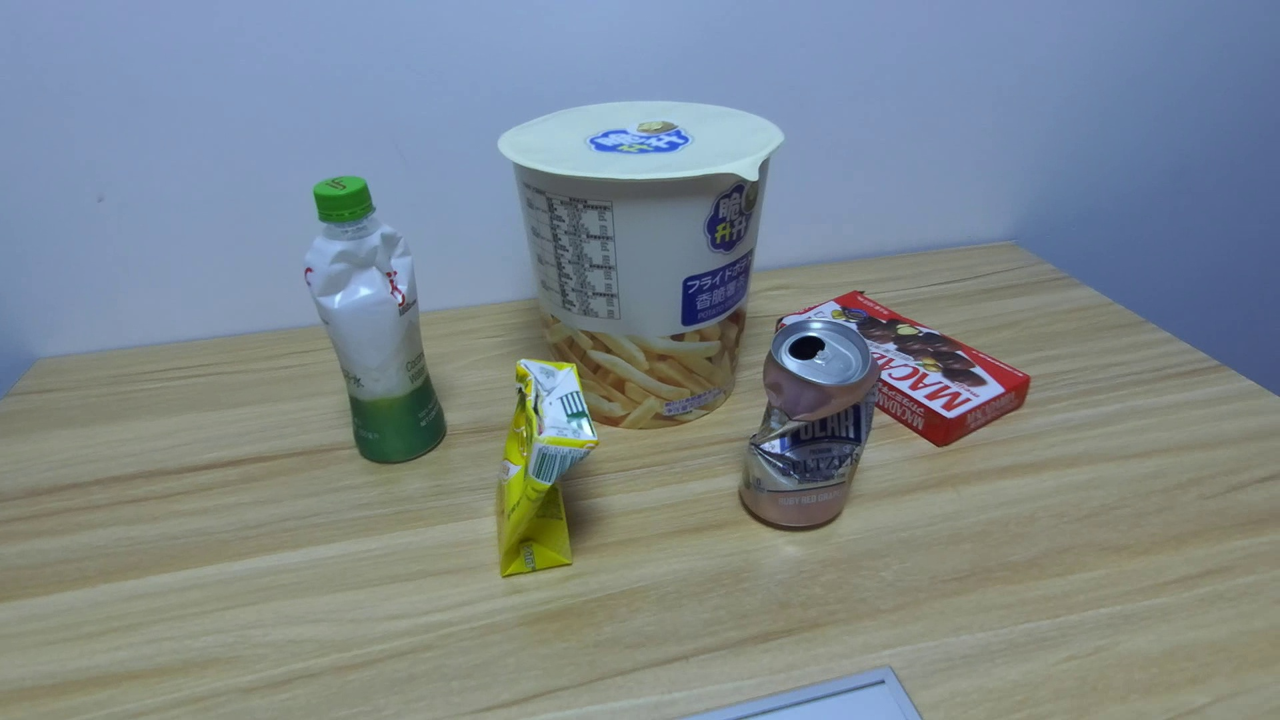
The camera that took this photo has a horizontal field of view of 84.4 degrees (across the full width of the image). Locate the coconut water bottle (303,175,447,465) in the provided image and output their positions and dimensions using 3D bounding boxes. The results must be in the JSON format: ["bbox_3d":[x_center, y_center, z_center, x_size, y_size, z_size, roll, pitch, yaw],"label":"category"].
[{"bbox_3d":[-0.175,-0.023,0.461,0.069,0.186,0.069,-1,34,1],"label":"coconut water bottle"}]

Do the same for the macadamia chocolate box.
[{"bbox_3d":[0.203,-0.003,0.569,0.106,0.028,0.182,-19,36,-26],"label":"macadamia chocolate box"}]

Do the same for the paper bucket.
[{"bbox_3d":[0.004,-0.071,0.522,0.198,0.195,0.198,-2,33,1],"label":"paper bucket"}]

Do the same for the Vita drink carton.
[{"bbox_3d":[-0.055,0.062,0.405,0.042,0.108,0.086,5,33,-16],"label":"Vita drink carton"}]

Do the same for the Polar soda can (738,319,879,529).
[{"bbox_3d":[0.097,0.042,0.414,0.066,0.122,0.071,22,40,24],"label":"Polar soda can"}]
